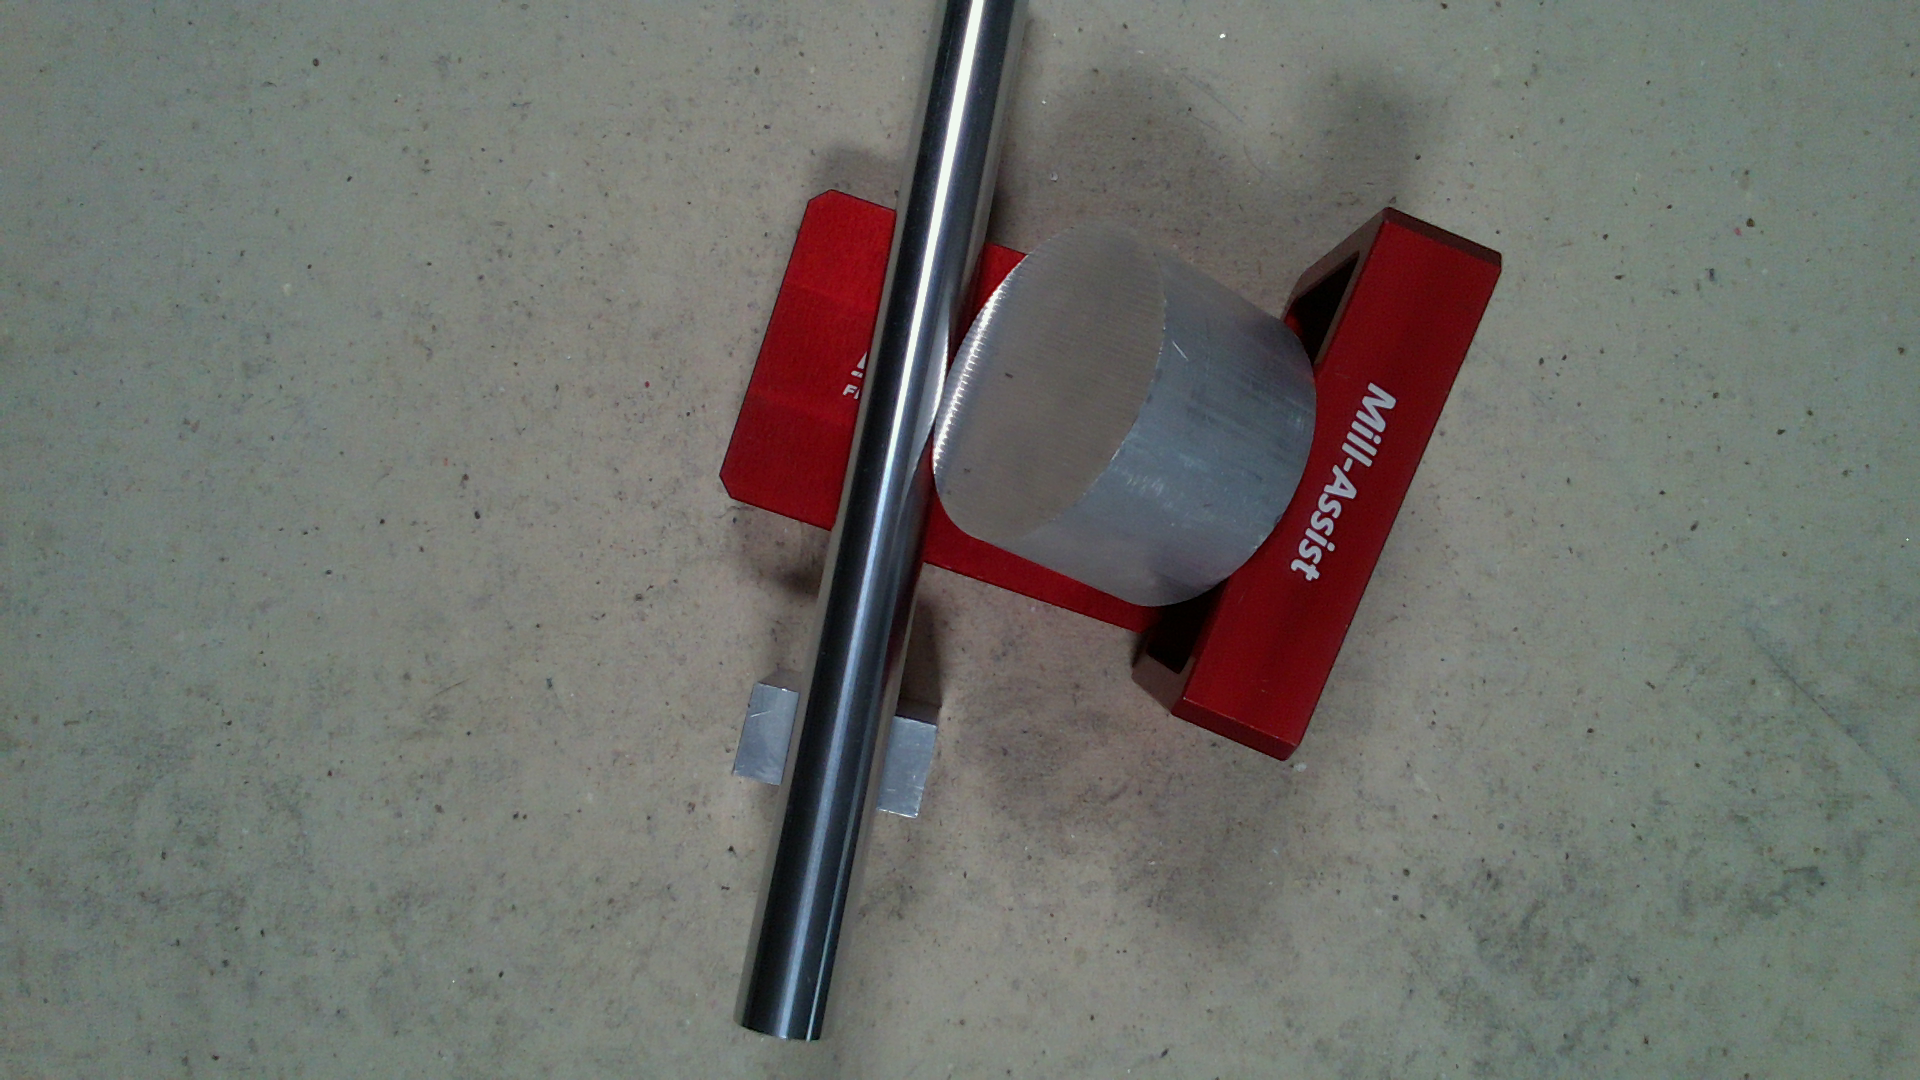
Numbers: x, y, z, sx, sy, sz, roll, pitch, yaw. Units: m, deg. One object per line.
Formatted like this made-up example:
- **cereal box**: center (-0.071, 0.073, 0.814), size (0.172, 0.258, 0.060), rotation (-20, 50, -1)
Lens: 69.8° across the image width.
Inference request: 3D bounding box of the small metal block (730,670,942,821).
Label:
- **small metal block**: center (-0.033, 0.055, 0.383), size (0.050, 0.050, 0.025), rotation (13, 90, 0)

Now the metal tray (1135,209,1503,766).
- **metal tray**: center (0.089, -0.012, 0.363), size (0.030, 0.090, 0.130), rotation (23, 90, 0)

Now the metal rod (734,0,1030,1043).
- **metal rod**: center (-0.015, -0.027, 0.356), size (0.025, 0.025, 0.300), rotation (11, 81, 0)

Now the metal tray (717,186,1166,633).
- **metal tray**: center (0.008, -0.036, 0.392), size (0.130, 0.030, 0.090), rotation (18, 90, 0)

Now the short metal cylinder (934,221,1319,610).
- **short metal cylinder**: center (0.038, -0.029, 0.331), size (0.050, 0.080, 0.080), rotation (23, 90, -33)
